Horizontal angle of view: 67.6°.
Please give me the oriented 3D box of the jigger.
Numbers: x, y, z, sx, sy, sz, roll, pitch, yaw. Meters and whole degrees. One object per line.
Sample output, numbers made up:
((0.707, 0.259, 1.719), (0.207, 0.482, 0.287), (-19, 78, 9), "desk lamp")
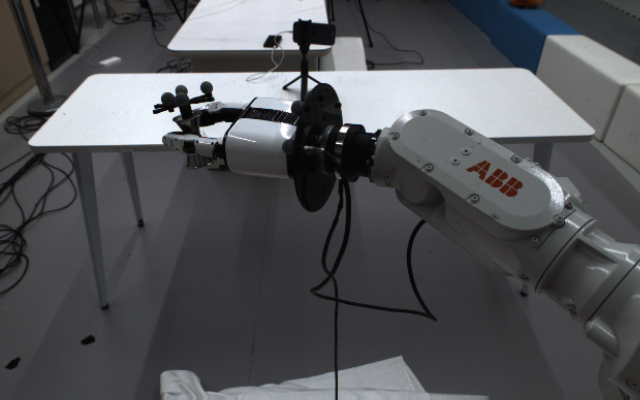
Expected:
((-0.168, -0.083, 0.662), (0.043, 0.071, 0.043), (-10, 24, 5), "jigger")
